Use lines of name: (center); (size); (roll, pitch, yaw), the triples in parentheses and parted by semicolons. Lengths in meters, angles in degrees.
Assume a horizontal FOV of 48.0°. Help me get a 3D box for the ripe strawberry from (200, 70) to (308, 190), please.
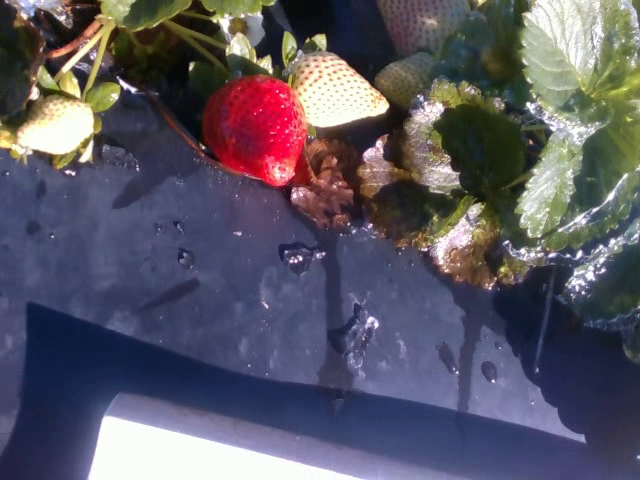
ripe strawberry: (-0.018, -0.034, 0.238); (0.040, 0.042, 0.053); (-21, 39, -4)
